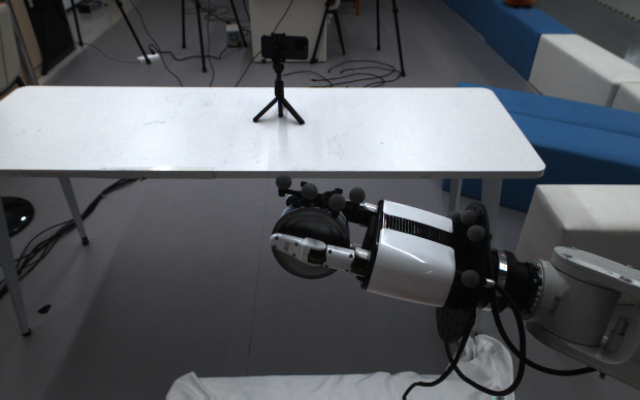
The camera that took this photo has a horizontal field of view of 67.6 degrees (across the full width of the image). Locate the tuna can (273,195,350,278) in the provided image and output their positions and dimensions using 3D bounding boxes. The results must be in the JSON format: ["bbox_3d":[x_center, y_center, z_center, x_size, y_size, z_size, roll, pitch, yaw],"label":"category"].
[{"bbox_3d":[-0.007,0.040,0.535,0.085,0.085,0.034,5,18,4],"label":"tuna can"}]
